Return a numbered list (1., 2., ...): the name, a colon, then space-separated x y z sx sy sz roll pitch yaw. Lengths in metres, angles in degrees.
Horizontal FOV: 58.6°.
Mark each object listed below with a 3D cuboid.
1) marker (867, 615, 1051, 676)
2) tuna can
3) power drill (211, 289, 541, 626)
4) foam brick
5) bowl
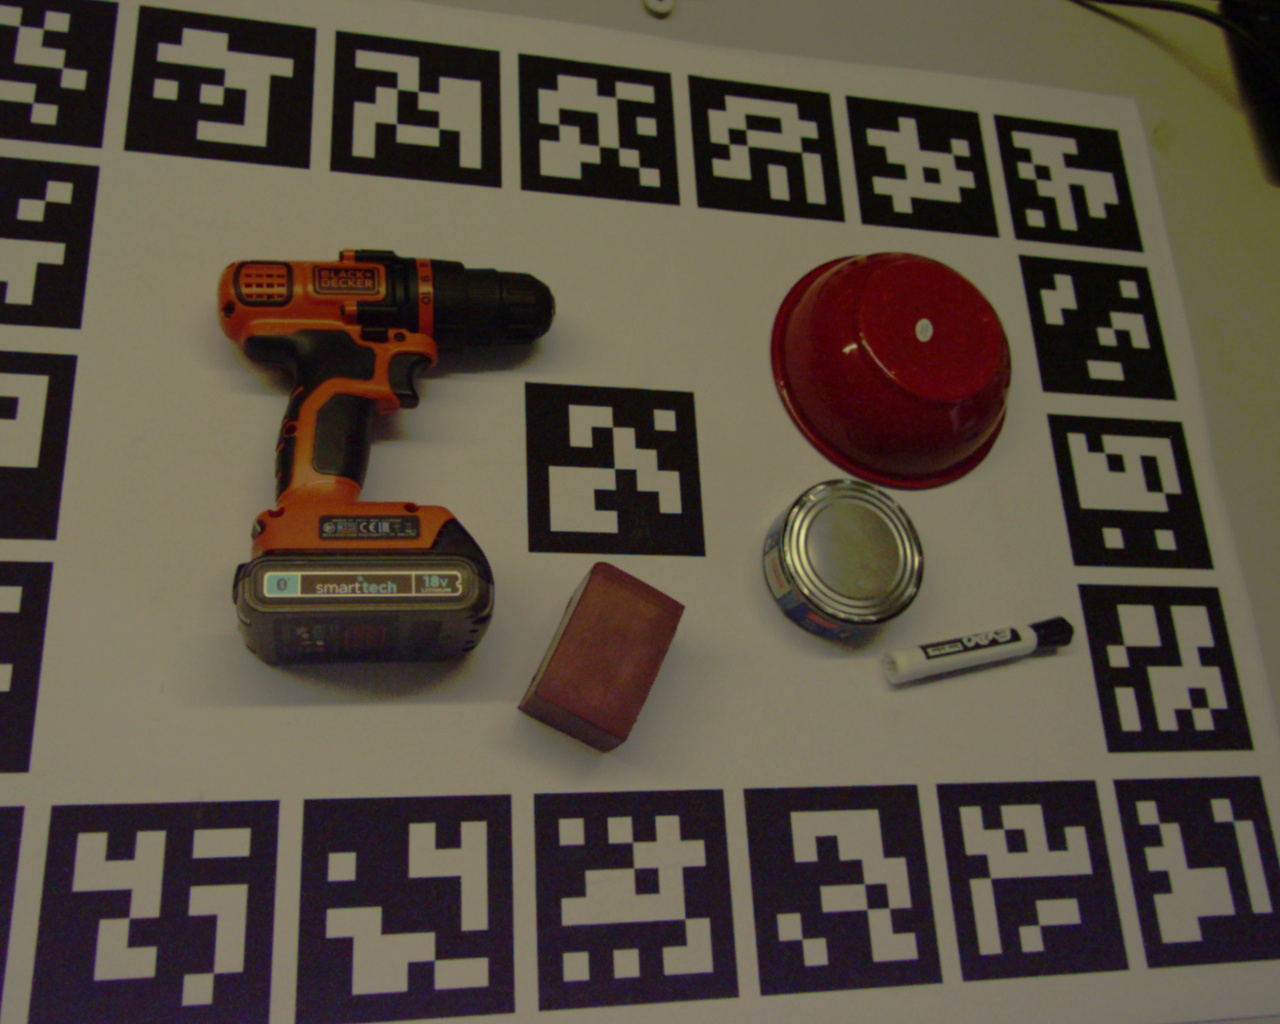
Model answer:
1. marker: 0.194 0.079 0.685 0.120 0.020 0.020 -8 76 -17
2. tuna can: 0.111 0.025 0.676 0.085 0.034 0.086 5 70 -15
3. power drill: -0.140 -0.034 0.624 0.183 0.057 0.187 2 69 -18
4. foam brick: -0.025 0.078 0.620 0.051 0.053 0.078 25 68 -7
5. bowl: 0.152 -0.097 0.728 0.161 0.055 0.162 4 64 -10
